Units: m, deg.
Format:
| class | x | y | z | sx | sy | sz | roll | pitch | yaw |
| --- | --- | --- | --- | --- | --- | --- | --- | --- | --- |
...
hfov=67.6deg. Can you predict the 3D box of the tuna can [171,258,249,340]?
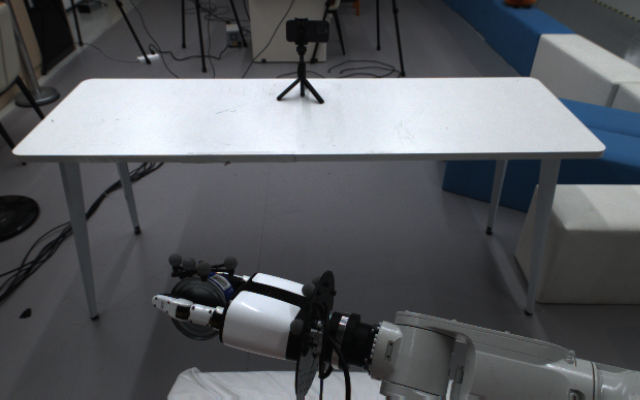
| class | x | y | z | sx | sy | sz | roll | pitch | yaw |
| --- | --- | --- | --- | --- | --- | --- | --- | --- | --- |
| tuna can | -0.151 | 0.139 | 0.638 | 0.085 | 0.085 | 0.034 | 11 | 8 | 13 |
